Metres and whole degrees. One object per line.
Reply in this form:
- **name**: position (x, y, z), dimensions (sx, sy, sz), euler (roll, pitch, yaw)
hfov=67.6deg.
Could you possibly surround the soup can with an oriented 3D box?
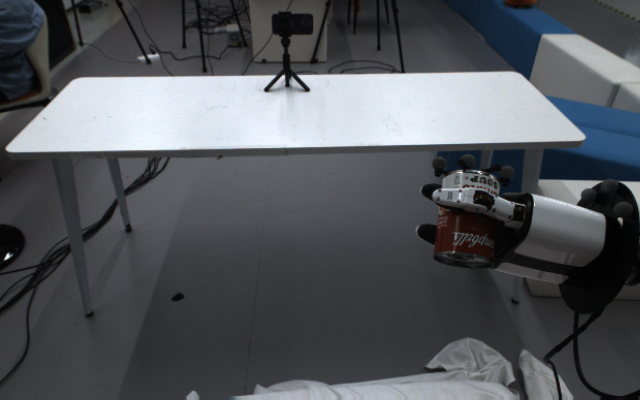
- **soup can**: position (0.174, 0.023, 0.567), dimensions (0.067, 0.067, 0.101), euler (8, 72, 9)
